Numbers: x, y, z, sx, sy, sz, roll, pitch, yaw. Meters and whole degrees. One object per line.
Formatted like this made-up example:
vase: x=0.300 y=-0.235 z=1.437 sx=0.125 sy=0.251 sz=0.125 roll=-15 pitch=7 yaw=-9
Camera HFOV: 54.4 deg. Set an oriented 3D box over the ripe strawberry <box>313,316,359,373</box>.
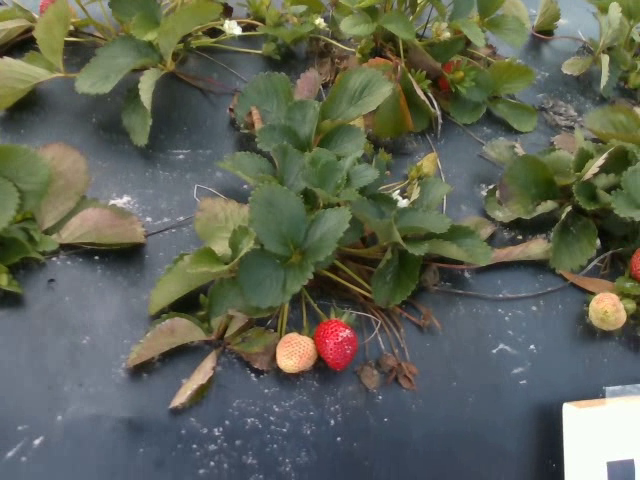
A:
ripe strawberry: x=0.010 y=0.072 z=0.411 sx=0.034 sy=0.033 sz=0.042 roll=29 pitch=23 yaw=-7
